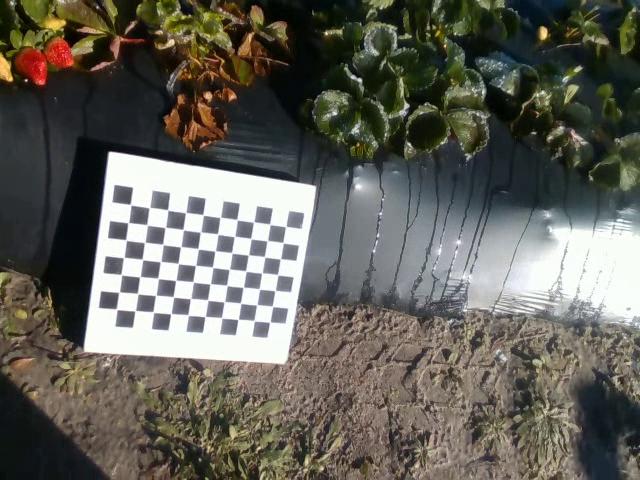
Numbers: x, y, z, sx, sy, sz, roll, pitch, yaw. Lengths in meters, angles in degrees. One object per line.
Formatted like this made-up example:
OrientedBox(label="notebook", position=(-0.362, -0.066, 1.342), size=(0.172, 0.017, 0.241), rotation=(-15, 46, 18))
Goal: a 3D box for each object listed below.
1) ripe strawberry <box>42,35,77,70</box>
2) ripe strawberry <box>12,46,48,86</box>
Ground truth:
OrientedBox(label="ripe strawberry", position=(-0.306, -0.222, 0.717), size=(0.041, 0.036, 0.030), rotation=(36, -3, -14))
OrientedBox(label="ripe strawberry", position=(-0.327, -0.195, 0.696), size=(0.036, 0.052, 0.040), rotation=(-31, -21, -12))
